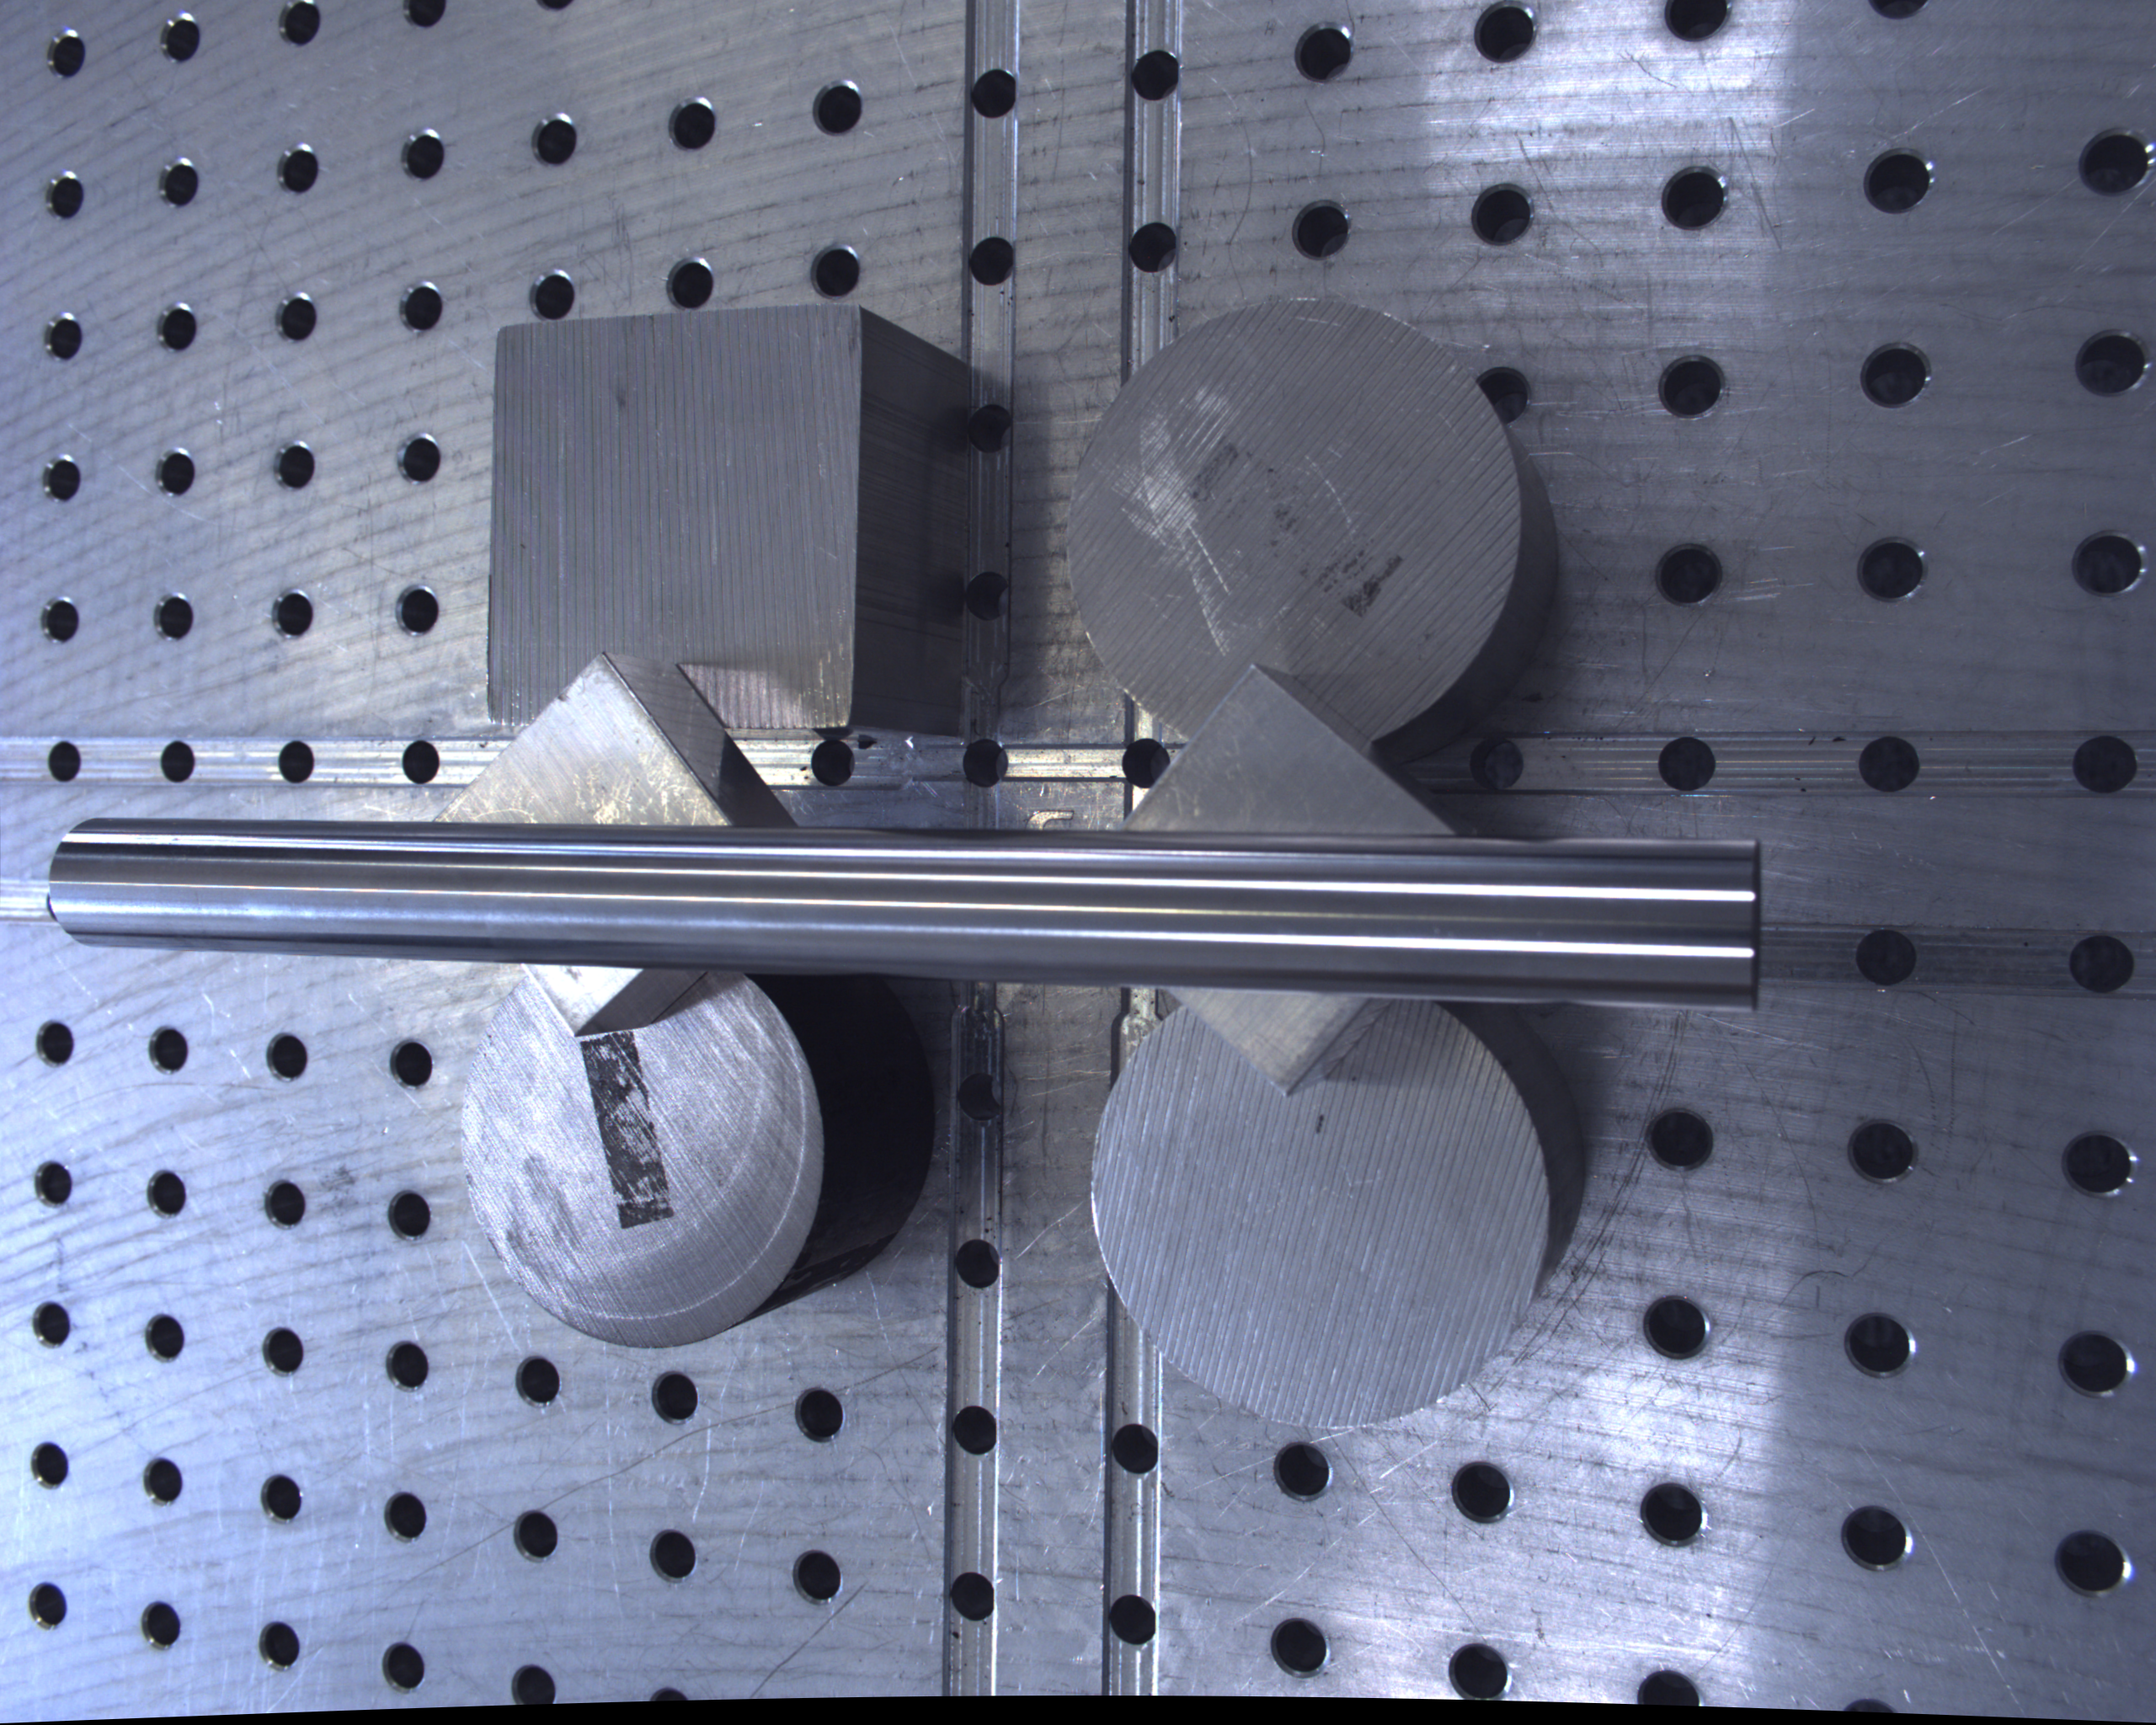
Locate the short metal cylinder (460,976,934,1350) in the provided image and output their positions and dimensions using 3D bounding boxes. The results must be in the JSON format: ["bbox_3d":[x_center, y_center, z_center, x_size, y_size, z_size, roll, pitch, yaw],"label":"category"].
[{"bbox_3d":[-0.077,0.054,0.425,0.080,0.050,0.080,0,90,20],"label":"short metal cylinder"}]

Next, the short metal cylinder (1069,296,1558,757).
[{"bbox_3d":[0.045,-0.058,0.384,0.080,0.050,0.080,0,90,20],"label":"short metal cylinder"}]

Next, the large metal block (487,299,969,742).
[{"bbox_3d":[-0.070,-0.066,0.423,0.080,0.050,0.080,1,91,20],"label":"large metal block"}]

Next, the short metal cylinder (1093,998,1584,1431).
[{"bbox_3d":[0.049,0.058,0.382,0.080,0.050,0.080,0,90,20],"label":"short metal cylinder"}]

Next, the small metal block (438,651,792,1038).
[{"bbox_3d":[-0.084,-0.003,0.390,0.050,0.025,0.050,-42,77,15],"label":"small metal block"}]

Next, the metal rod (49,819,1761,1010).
[{"bbox_3d":[-0.045,0.006,0.348,0.301,0.025,0.025,1,90,19],"label":"metal rod"}]

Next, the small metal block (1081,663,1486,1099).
[{"bbox_3d":[0.035,0.003,0.347,0.050,0.025,0.050,42,103,15],"label":"small metal block"}]
